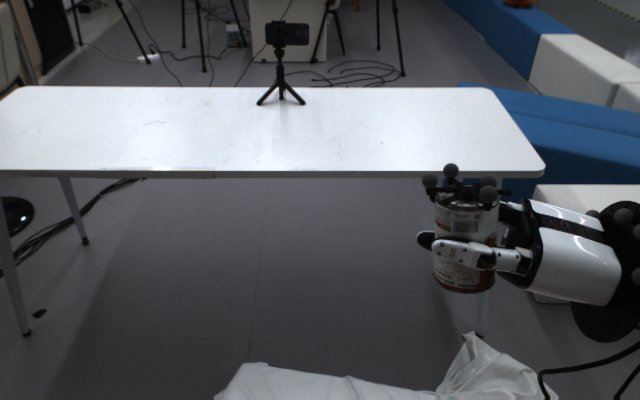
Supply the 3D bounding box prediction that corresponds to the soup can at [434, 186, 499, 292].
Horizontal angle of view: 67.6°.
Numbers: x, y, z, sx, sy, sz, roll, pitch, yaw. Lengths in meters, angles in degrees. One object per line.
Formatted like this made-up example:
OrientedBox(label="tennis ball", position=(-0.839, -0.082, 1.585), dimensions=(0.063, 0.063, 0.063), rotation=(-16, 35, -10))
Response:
OrientedBox(label="soup can", position=(0.163, 0.041, 0.538), dimensions=(0.067, 0.101, 0.067), rotation=(-4, 21, 1))
